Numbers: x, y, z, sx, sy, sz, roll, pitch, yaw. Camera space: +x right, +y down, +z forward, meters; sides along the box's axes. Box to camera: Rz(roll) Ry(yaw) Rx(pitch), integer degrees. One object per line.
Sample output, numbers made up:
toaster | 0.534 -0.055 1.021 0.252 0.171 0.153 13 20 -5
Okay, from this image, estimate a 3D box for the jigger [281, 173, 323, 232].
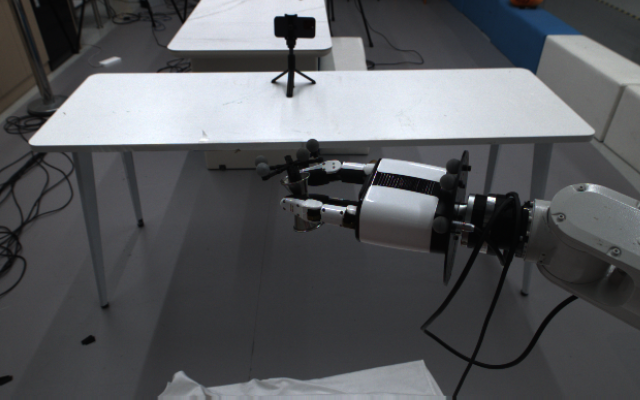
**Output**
jigger | -0.022 0.002 0.628 0.043 0.071 0.043 -14 21 6
